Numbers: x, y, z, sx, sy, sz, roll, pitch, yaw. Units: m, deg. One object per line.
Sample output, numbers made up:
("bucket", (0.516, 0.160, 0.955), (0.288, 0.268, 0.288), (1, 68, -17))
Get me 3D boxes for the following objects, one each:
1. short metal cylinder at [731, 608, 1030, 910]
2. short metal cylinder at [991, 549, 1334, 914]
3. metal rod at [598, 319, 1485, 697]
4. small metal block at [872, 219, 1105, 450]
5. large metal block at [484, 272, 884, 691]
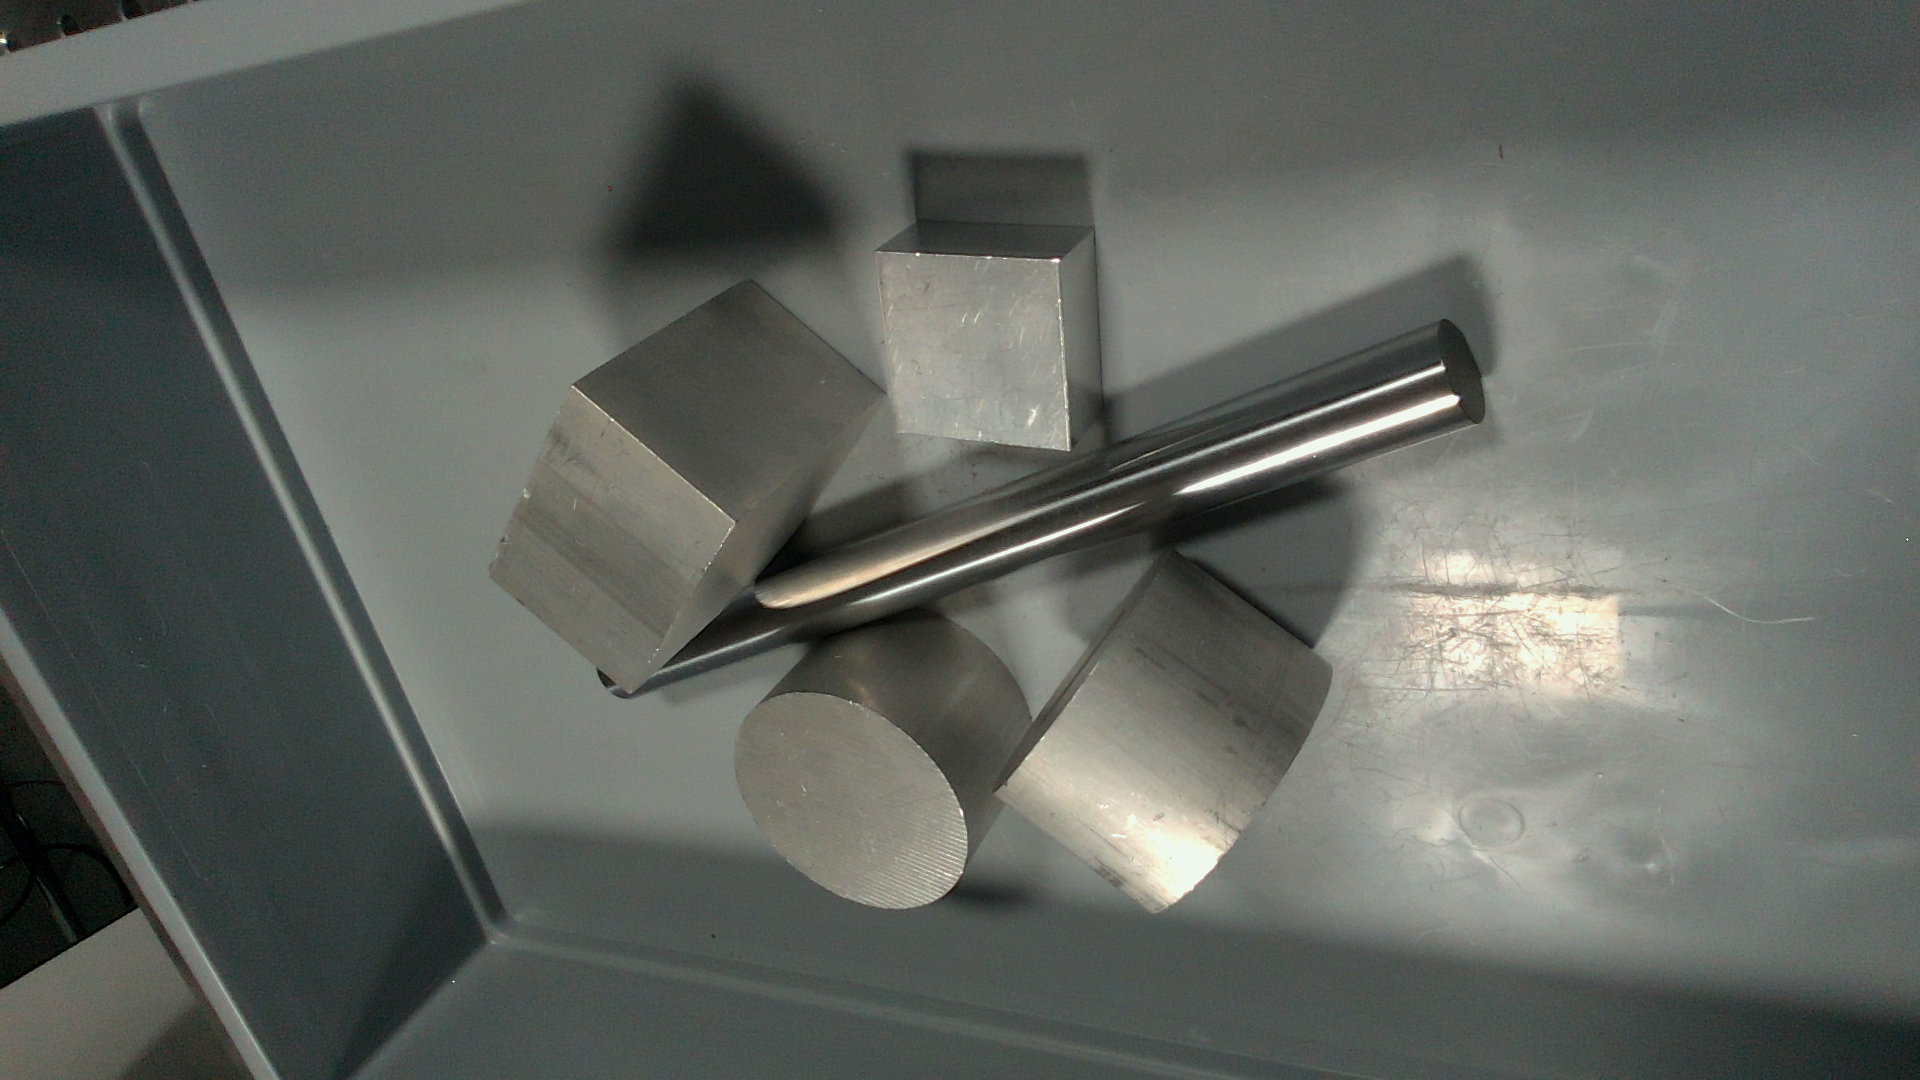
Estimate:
("short metal cylinder", (-0.024, 0.067, 0.429), (0.080, 0.050, 0.080), (13, 124, 21))
("short metal cylinder", (0.052, 0.049, 0.359), (0.050, 0.080, 0.080), (36, 129, 4))
("metal rod", (-0.002, 0.003, 0.395), (0.299, 0.025, 0.025), (-19, 108, 35))
("small metal block", (0.008, -0.054, 0.354), (0.050, 0.025, 0.050), (8, 122, 24))
("large metal block", (-0.077, -0.017, 0.387), (0.050, 0.080, 0.080), (40, 129, 1))
